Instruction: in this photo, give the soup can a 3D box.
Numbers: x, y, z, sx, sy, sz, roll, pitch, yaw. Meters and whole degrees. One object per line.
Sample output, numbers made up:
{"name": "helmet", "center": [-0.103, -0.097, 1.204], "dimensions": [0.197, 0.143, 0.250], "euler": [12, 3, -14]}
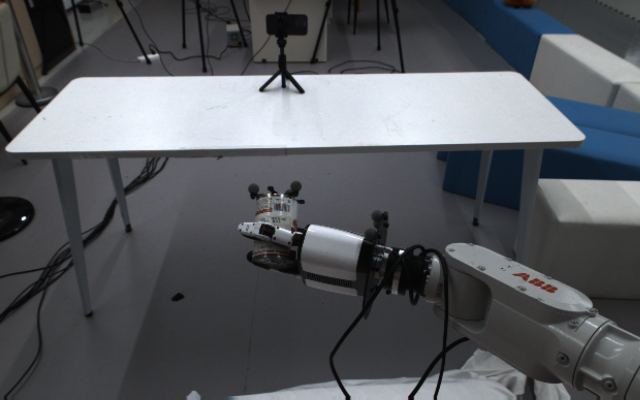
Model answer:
{"name": "soup can", "center": [-0.067, 0.049, 0.743], "dimensions": [0.067, 0.067, 0.101], "euler": [1, 68, -1]}
